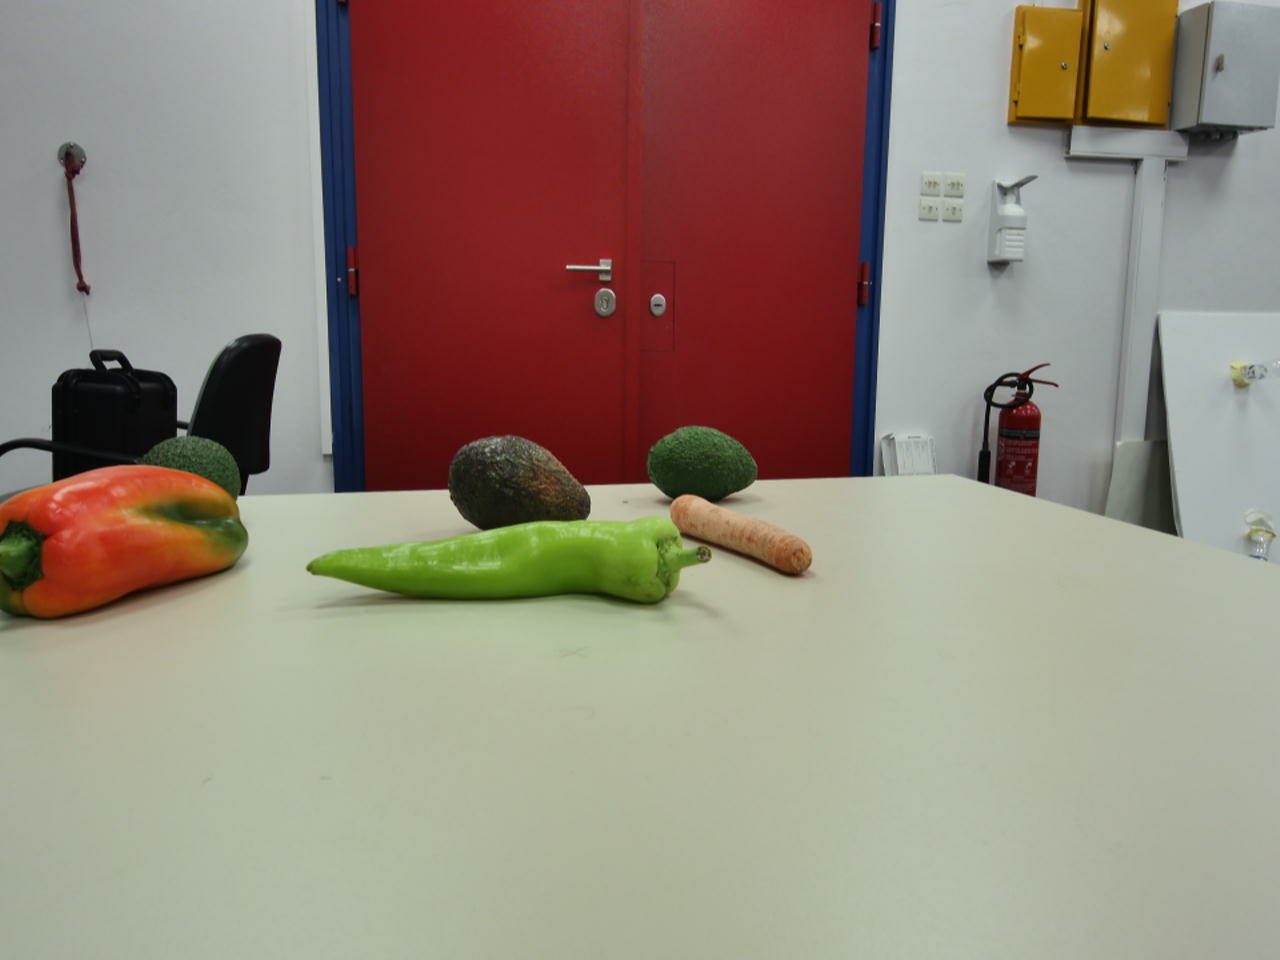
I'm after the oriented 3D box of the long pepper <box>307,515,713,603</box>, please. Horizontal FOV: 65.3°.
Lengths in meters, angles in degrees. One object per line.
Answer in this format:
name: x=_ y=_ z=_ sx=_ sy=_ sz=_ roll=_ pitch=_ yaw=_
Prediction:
long pepper: x=-0.063 y=0.042 z=0.529 sx=0.205 sy=0.045 sz=0.065 roll=0 pitch=7 yaw=3
